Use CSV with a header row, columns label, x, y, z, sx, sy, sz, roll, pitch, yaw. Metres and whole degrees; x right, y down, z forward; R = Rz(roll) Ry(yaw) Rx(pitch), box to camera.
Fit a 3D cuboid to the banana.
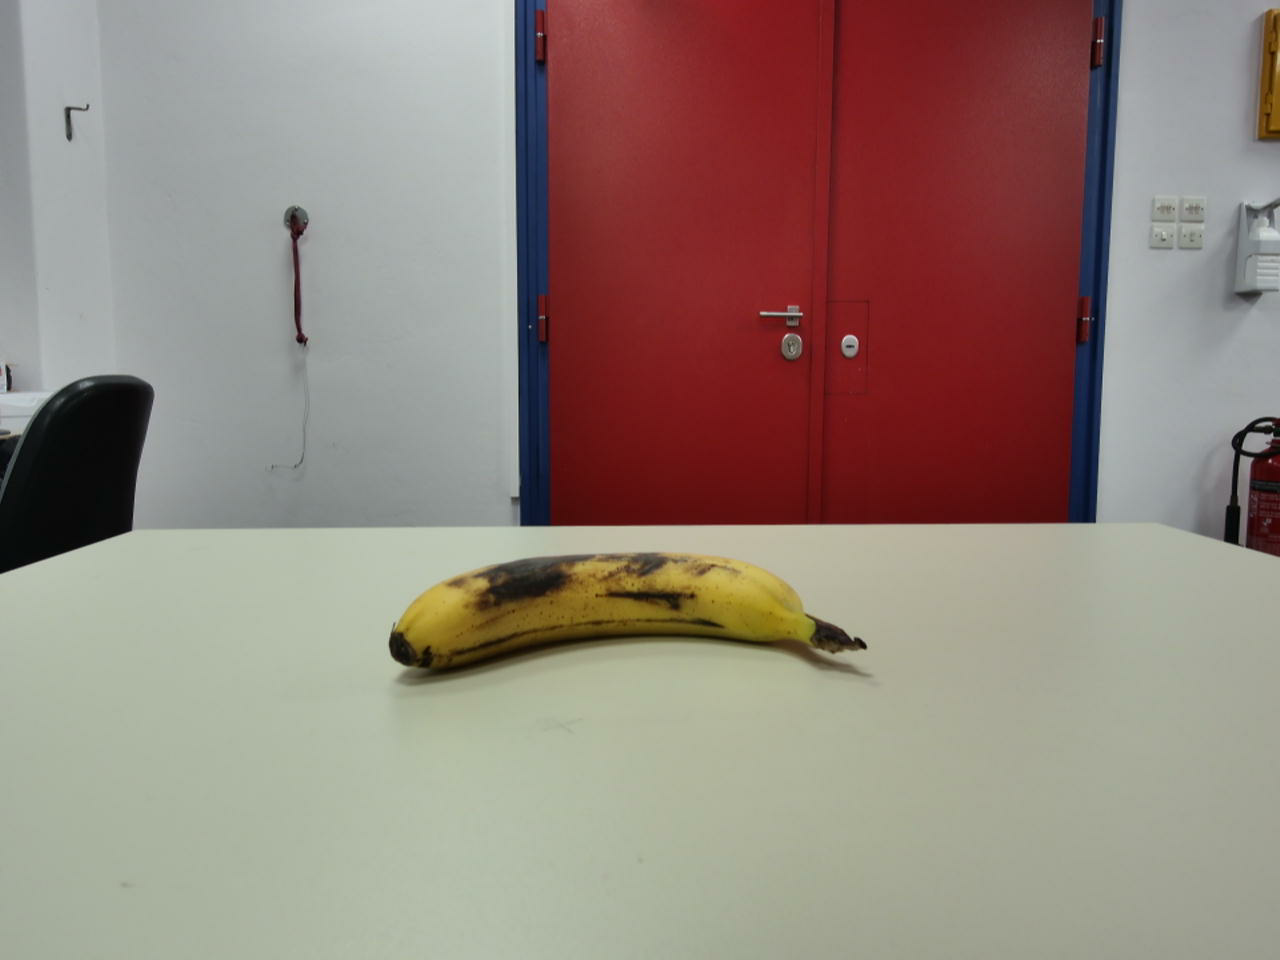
label,x,y,z,sx,sy,sz,roll,pitch,yaw
banana,-0.008,0.056,0.437,0.187,0.039,0.094,0,4,-3
